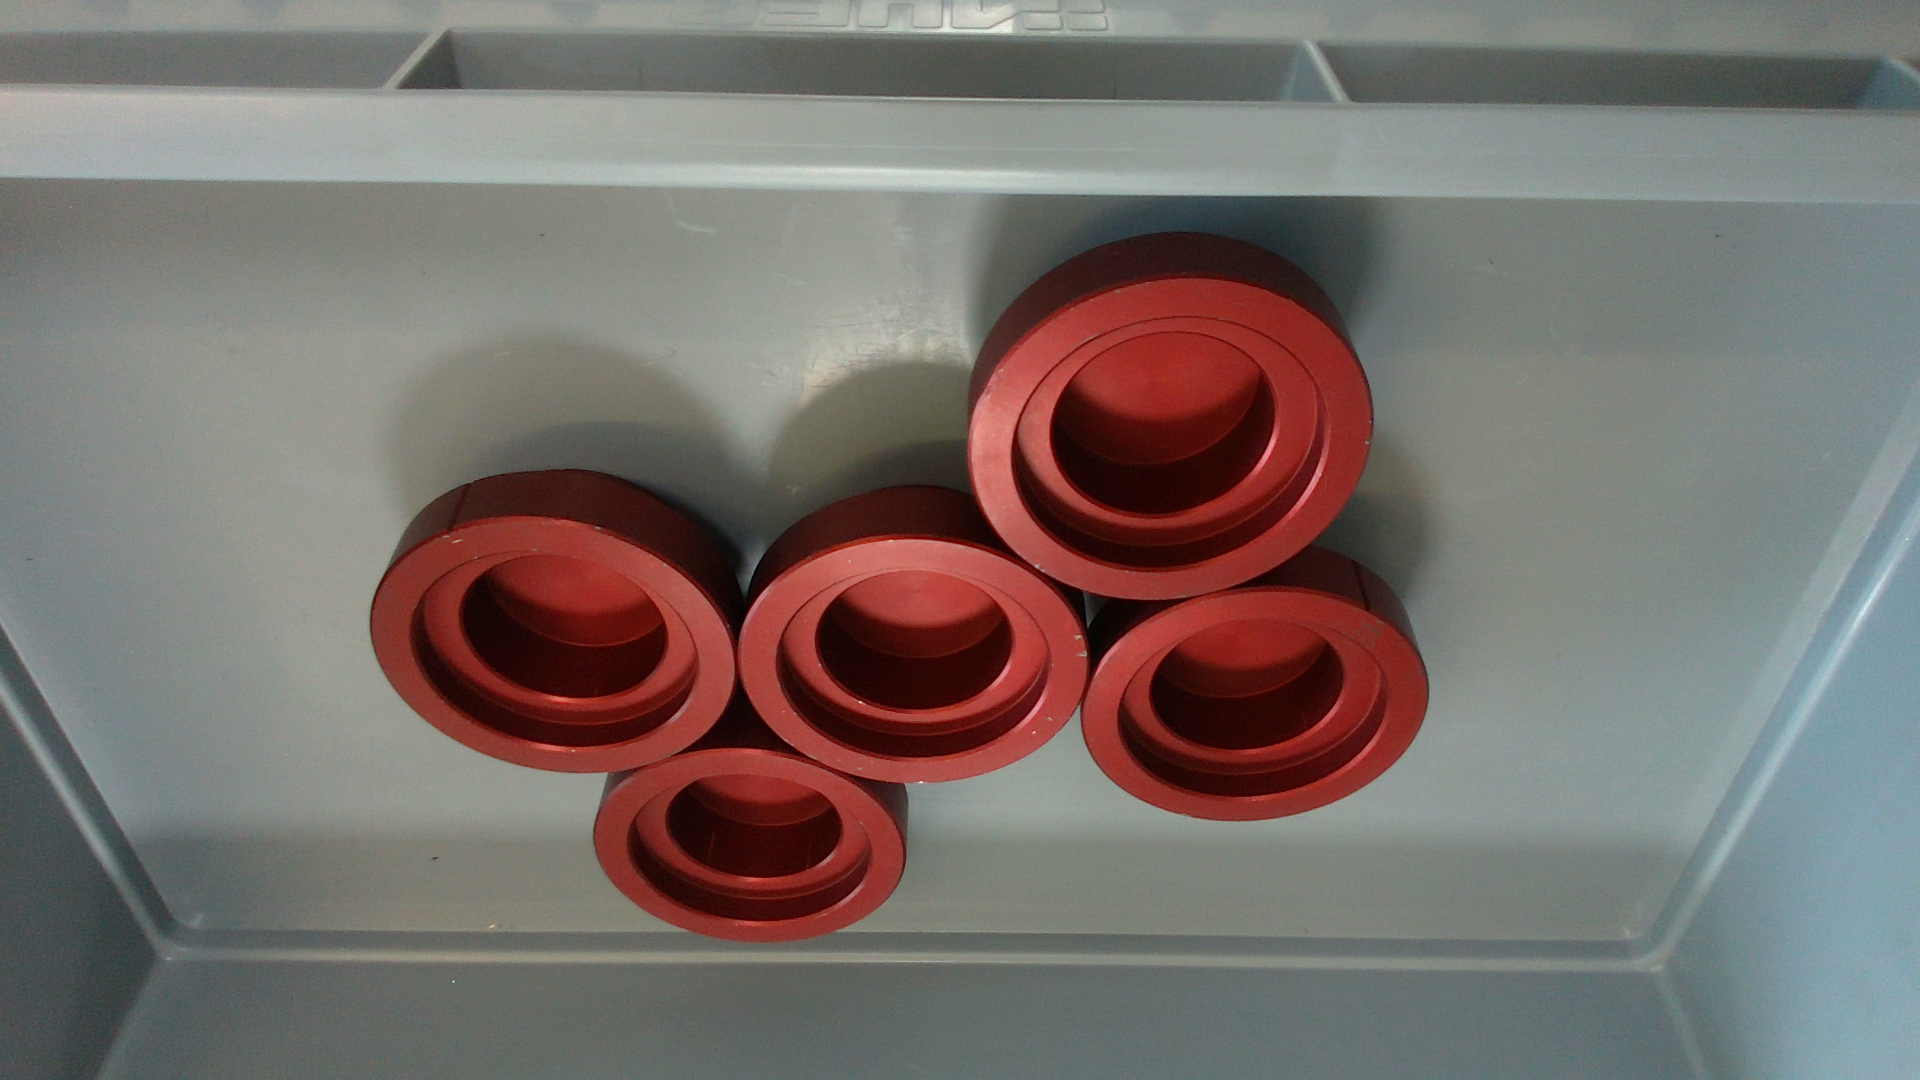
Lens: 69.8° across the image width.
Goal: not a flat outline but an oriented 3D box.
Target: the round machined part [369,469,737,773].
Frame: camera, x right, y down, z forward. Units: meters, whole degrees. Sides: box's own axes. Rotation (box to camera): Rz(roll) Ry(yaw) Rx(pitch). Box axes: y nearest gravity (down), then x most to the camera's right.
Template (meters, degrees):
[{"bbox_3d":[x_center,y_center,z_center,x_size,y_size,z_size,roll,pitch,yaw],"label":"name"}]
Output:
[{"bbox_3d":[-0.111,0.019,0.392,0.098,0.042,0.098,0,130,0],"label":"round machined part"}]

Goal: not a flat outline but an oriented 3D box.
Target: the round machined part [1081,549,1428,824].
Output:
[{"bbox_3d":[0.084,0.037,0.408,0.098,0.042,0.098,0,130,0],"label":"round machined part"}]

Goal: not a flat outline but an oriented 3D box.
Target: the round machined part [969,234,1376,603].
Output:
[{"bbox_3d":[0.051,-0.034,0.349,0.098,0.042,0.098,0,130,0],"label":"round machined part"}]

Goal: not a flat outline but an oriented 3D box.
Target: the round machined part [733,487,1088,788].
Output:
[{"bbox_3d":[-0.013,0.024,0.396,0.098,0.042,0.098,0,130,0],"label":"round machined part"}]

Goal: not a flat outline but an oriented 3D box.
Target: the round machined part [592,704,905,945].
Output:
[{"bbox_3d":[-0.066,0.086,0.449,0.098,0.042,0.098,0,130,0],"label":"round machined part"}]
